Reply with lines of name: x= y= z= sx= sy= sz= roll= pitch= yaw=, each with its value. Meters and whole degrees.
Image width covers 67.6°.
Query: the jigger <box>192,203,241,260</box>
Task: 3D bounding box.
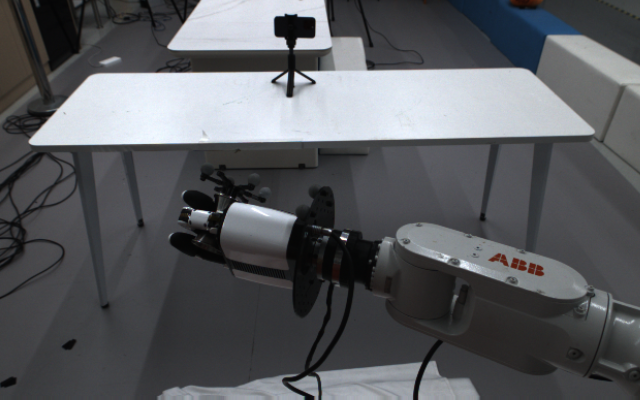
jigger: x=-0.126 y=0.031 z=0.614 sx=0.043 sy=0.043 sz=0.071 roll=13 pitch=70 yaw=16
